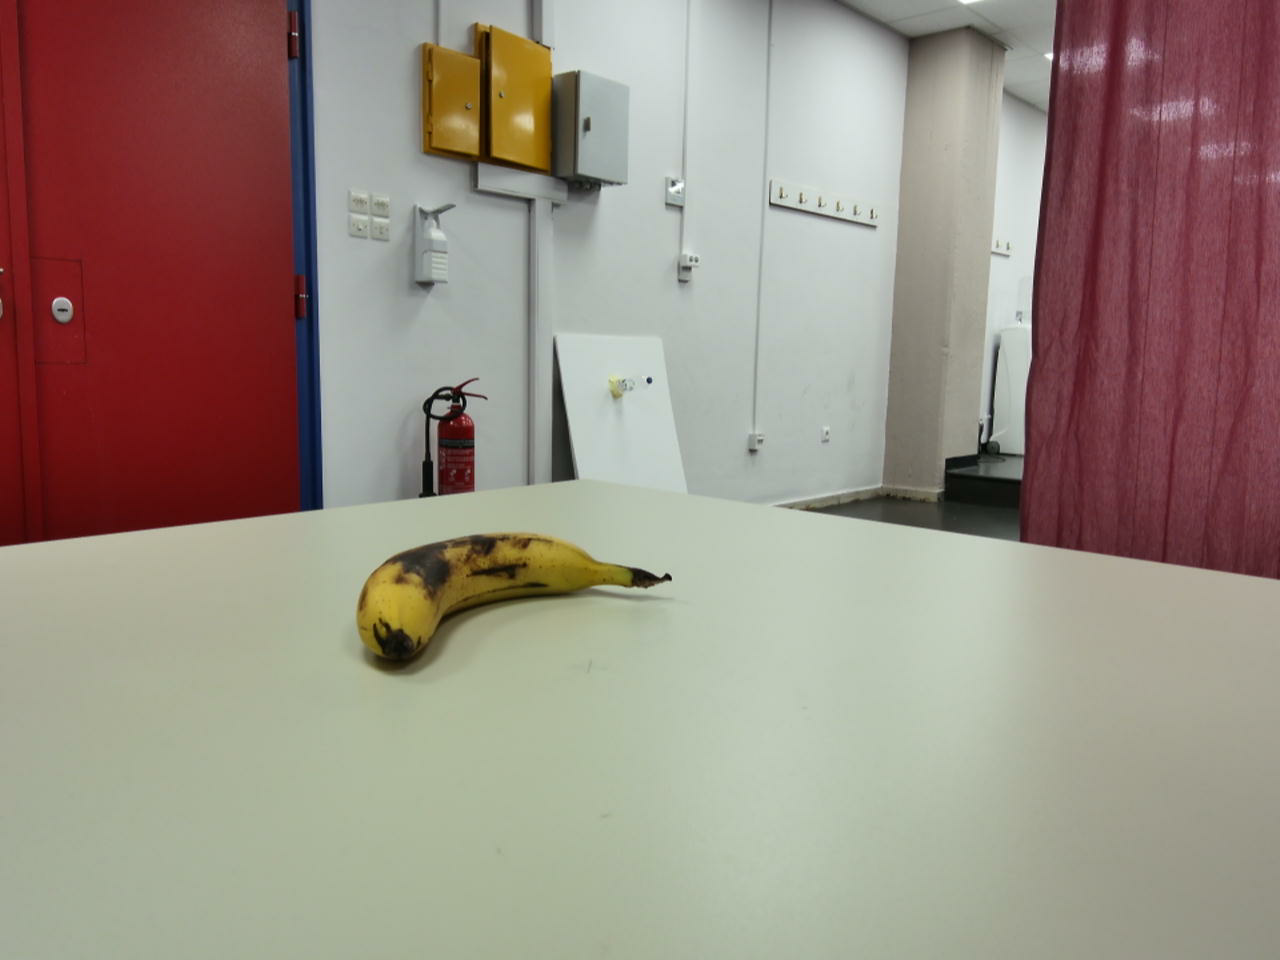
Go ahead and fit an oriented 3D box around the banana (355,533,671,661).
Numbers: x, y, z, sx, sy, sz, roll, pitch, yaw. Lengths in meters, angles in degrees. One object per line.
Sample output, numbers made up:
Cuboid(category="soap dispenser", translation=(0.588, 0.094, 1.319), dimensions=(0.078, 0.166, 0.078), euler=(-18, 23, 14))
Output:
Cuboid(category="banana", translation=(-0.081, 0.054, 0.523), dimensions=(0.094, 0.039, 0.187), euler=(4, 8, 39))
